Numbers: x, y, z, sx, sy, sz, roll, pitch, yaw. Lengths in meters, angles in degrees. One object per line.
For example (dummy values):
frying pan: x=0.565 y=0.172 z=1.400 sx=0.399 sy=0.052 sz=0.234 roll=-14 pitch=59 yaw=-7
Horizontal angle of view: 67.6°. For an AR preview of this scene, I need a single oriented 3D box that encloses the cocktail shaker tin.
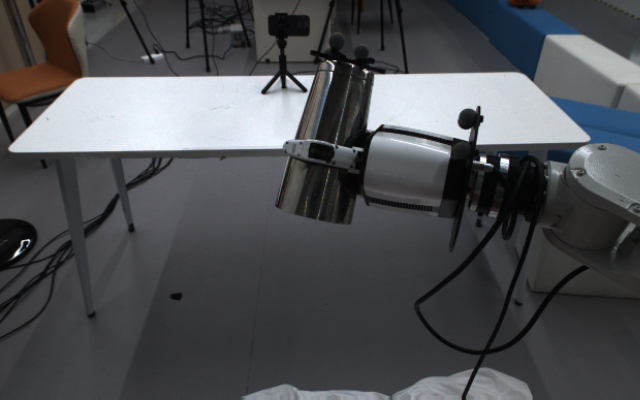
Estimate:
cocktail shaker tin: x=0.013 y=-0.066 z=0.556 sx=0.093 sy=0.170 sz=0.093 roll=13 pitch=4 yaw=-1
